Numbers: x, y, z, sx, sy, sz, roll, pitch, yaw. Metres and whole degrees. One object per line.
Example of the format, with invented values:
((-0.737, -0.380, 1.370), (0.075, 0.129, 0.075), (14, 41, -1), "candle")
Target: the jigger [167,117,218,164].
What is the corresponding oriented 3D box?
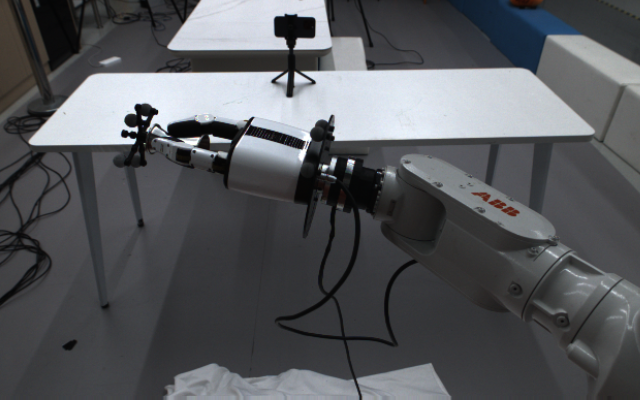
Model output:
((-0.175, -0.072, 0.617), (0.071, 0.043, 0.043), (13, 36, 5), "jigger")
